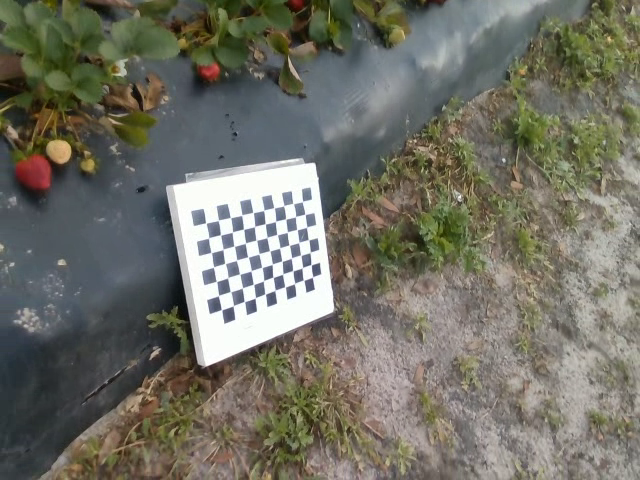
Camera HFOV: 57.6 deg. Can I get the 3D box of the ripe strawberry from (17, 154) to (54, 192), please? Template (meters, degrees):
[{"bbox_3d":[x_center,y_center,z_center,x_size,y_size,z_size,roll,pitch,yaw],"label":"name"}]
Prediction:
[{"bbox_3d":[-0.352,-0.084,0.728,0.059,0.034,0.050,42,48,20],"label":"ripe strawberry"}]
